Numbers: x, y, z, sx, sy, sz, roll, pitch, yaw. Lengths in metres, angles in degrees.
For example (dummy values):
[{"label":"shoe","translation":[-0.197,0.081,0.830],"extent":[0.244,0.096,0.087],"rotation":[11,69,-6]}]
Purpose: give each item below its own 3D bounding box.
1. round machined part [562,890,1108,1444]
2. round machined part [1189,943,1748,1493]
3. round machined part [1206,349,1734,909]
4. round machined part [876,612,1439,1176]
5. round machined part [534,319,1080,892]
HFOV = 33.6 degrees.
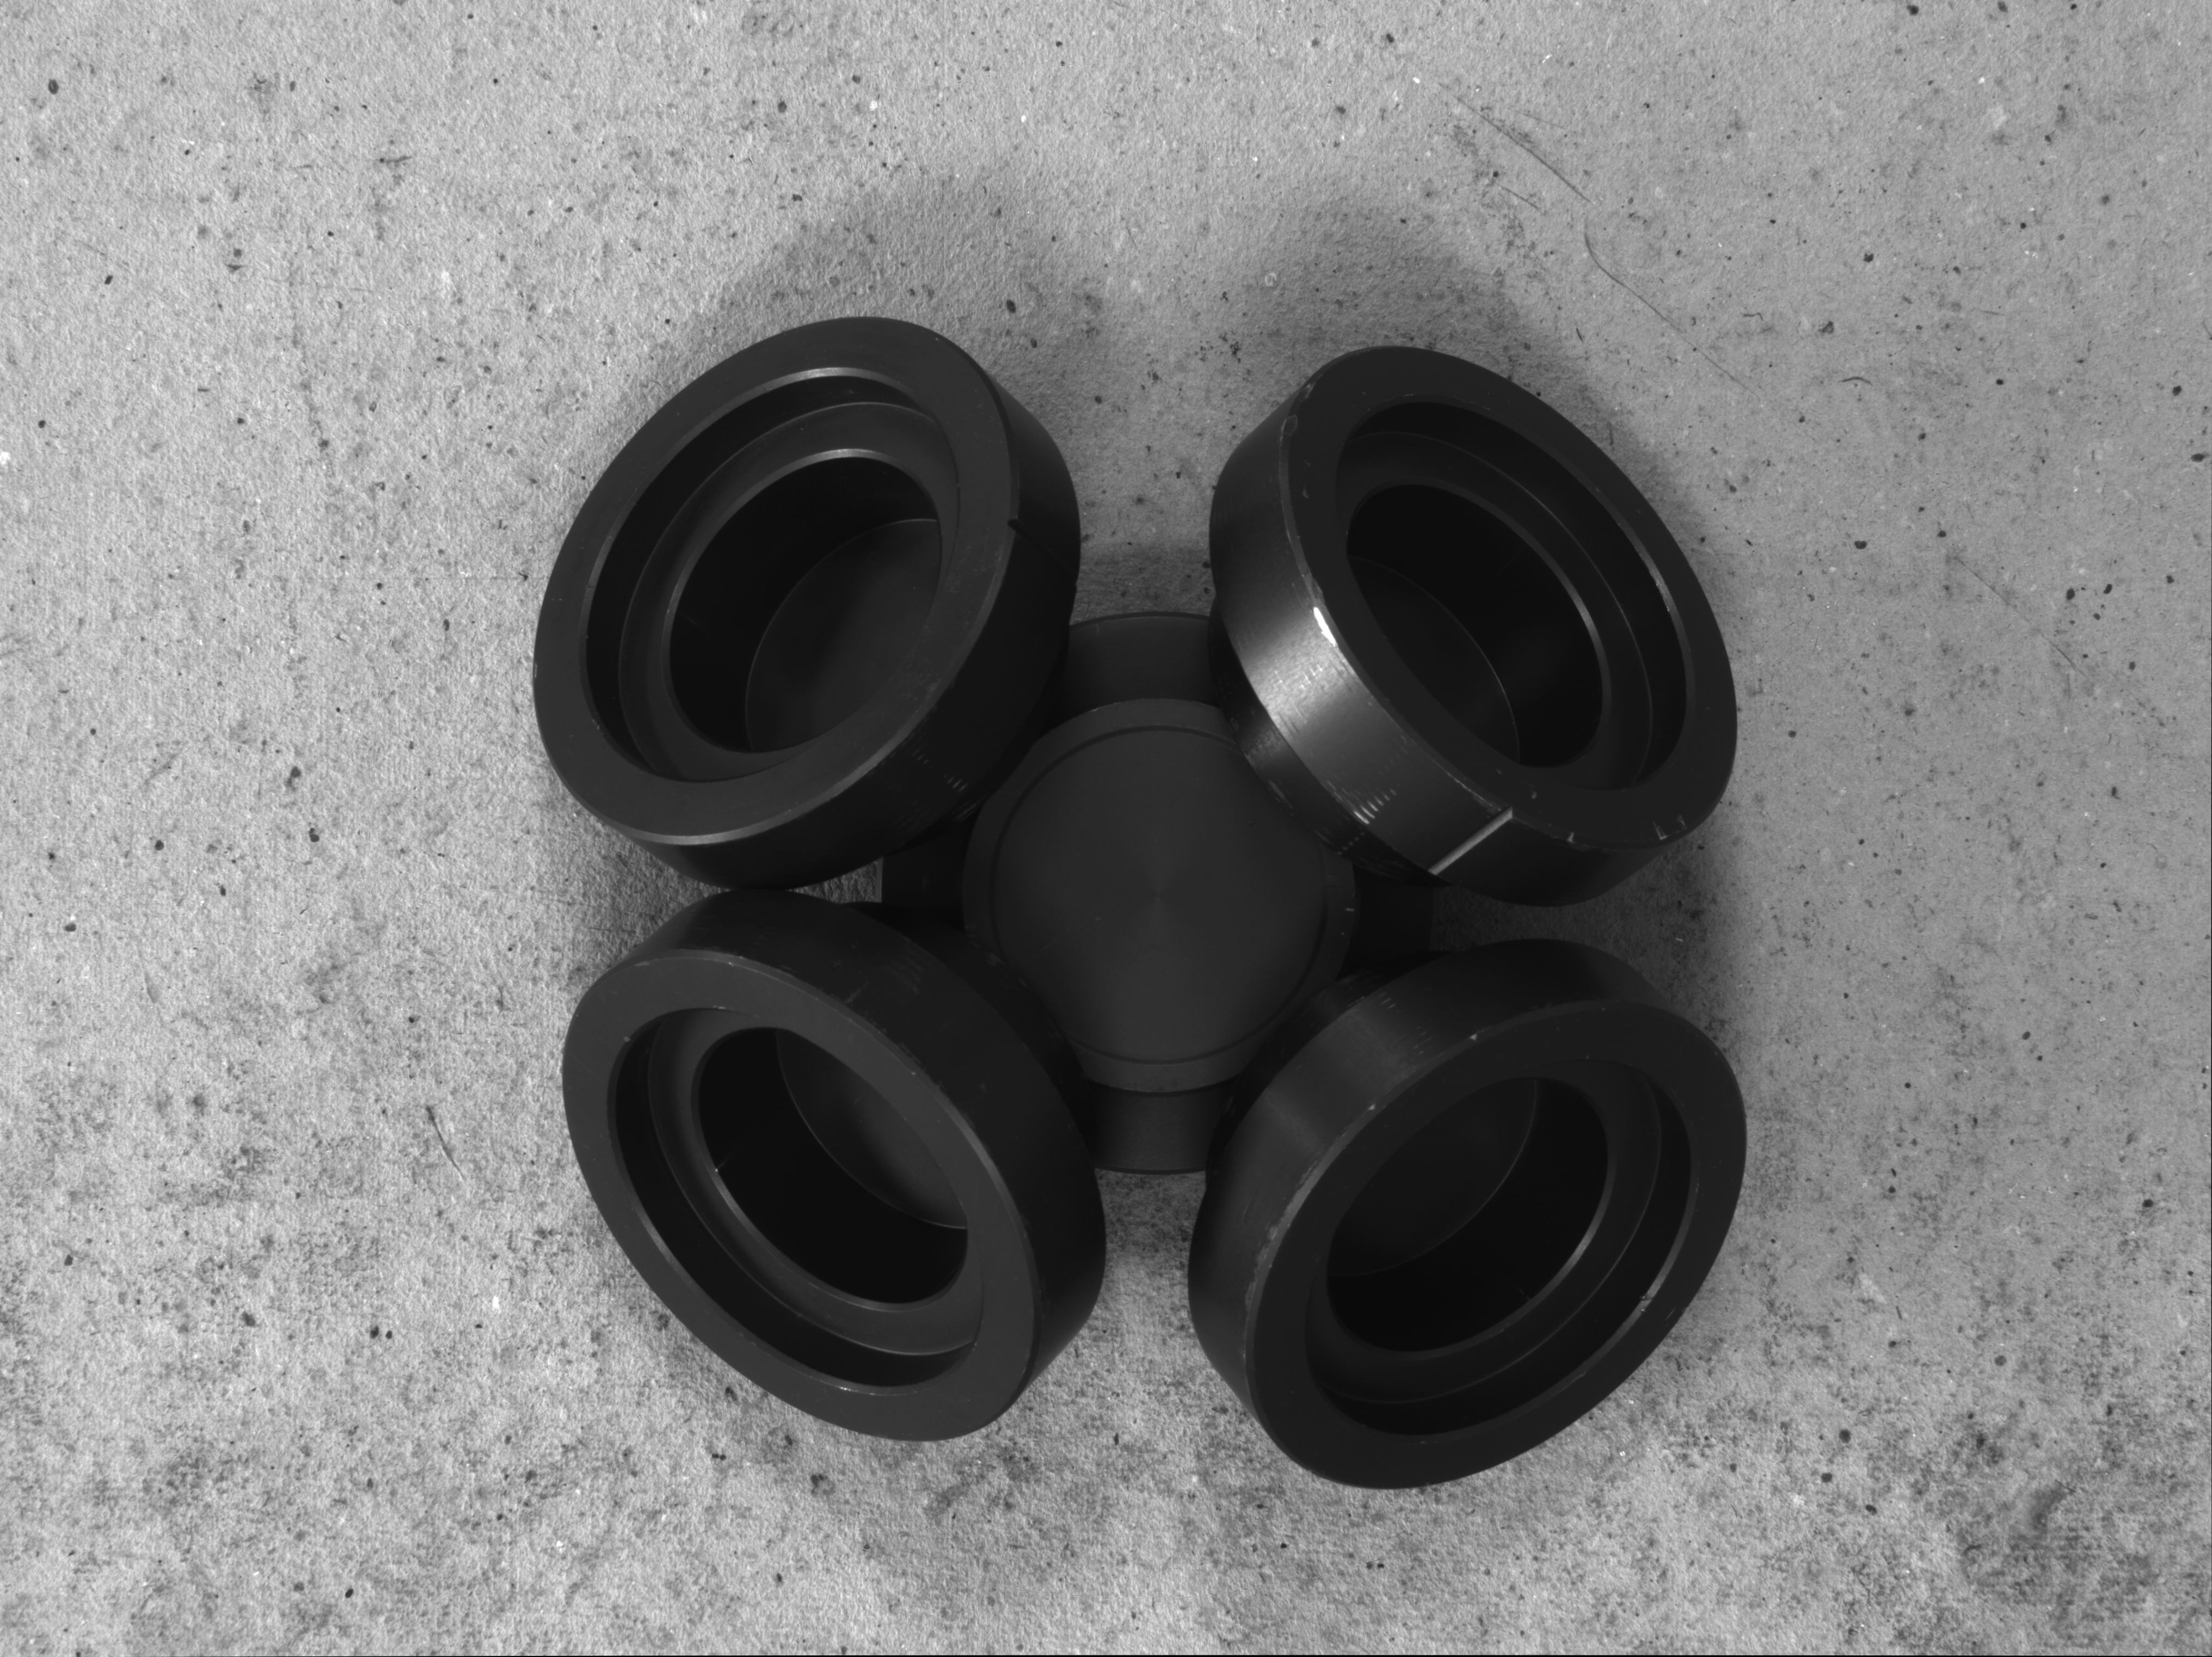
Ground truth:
[{"label":"round machined part","translation":[-0.041,0.052,0.619],"extent":[0.098,0.098,0.042],"rotation":[47,47,0]},{"label":"round machined part","translation":[0.057,0.061,0.621],"extent":[0.098,0.042,0.098],"rotation":[-17,127,-23]},{"label":"round machined part","translation":[0.056,-0.029,0.620],"extent":[0.098,0.098,0.042],"rotation":[50,131,0]},{"label":"round machined part","translation":[0.009,0.011,0.637],"extent":[0.098,0.042,0.098],"rotation":[0,88,-1]},{"label":"round machined part","translation":[-0.046,-0.033,0.621],"extent":[0.098,0.042,0.098],"rotation":[-16,57,27]}]
